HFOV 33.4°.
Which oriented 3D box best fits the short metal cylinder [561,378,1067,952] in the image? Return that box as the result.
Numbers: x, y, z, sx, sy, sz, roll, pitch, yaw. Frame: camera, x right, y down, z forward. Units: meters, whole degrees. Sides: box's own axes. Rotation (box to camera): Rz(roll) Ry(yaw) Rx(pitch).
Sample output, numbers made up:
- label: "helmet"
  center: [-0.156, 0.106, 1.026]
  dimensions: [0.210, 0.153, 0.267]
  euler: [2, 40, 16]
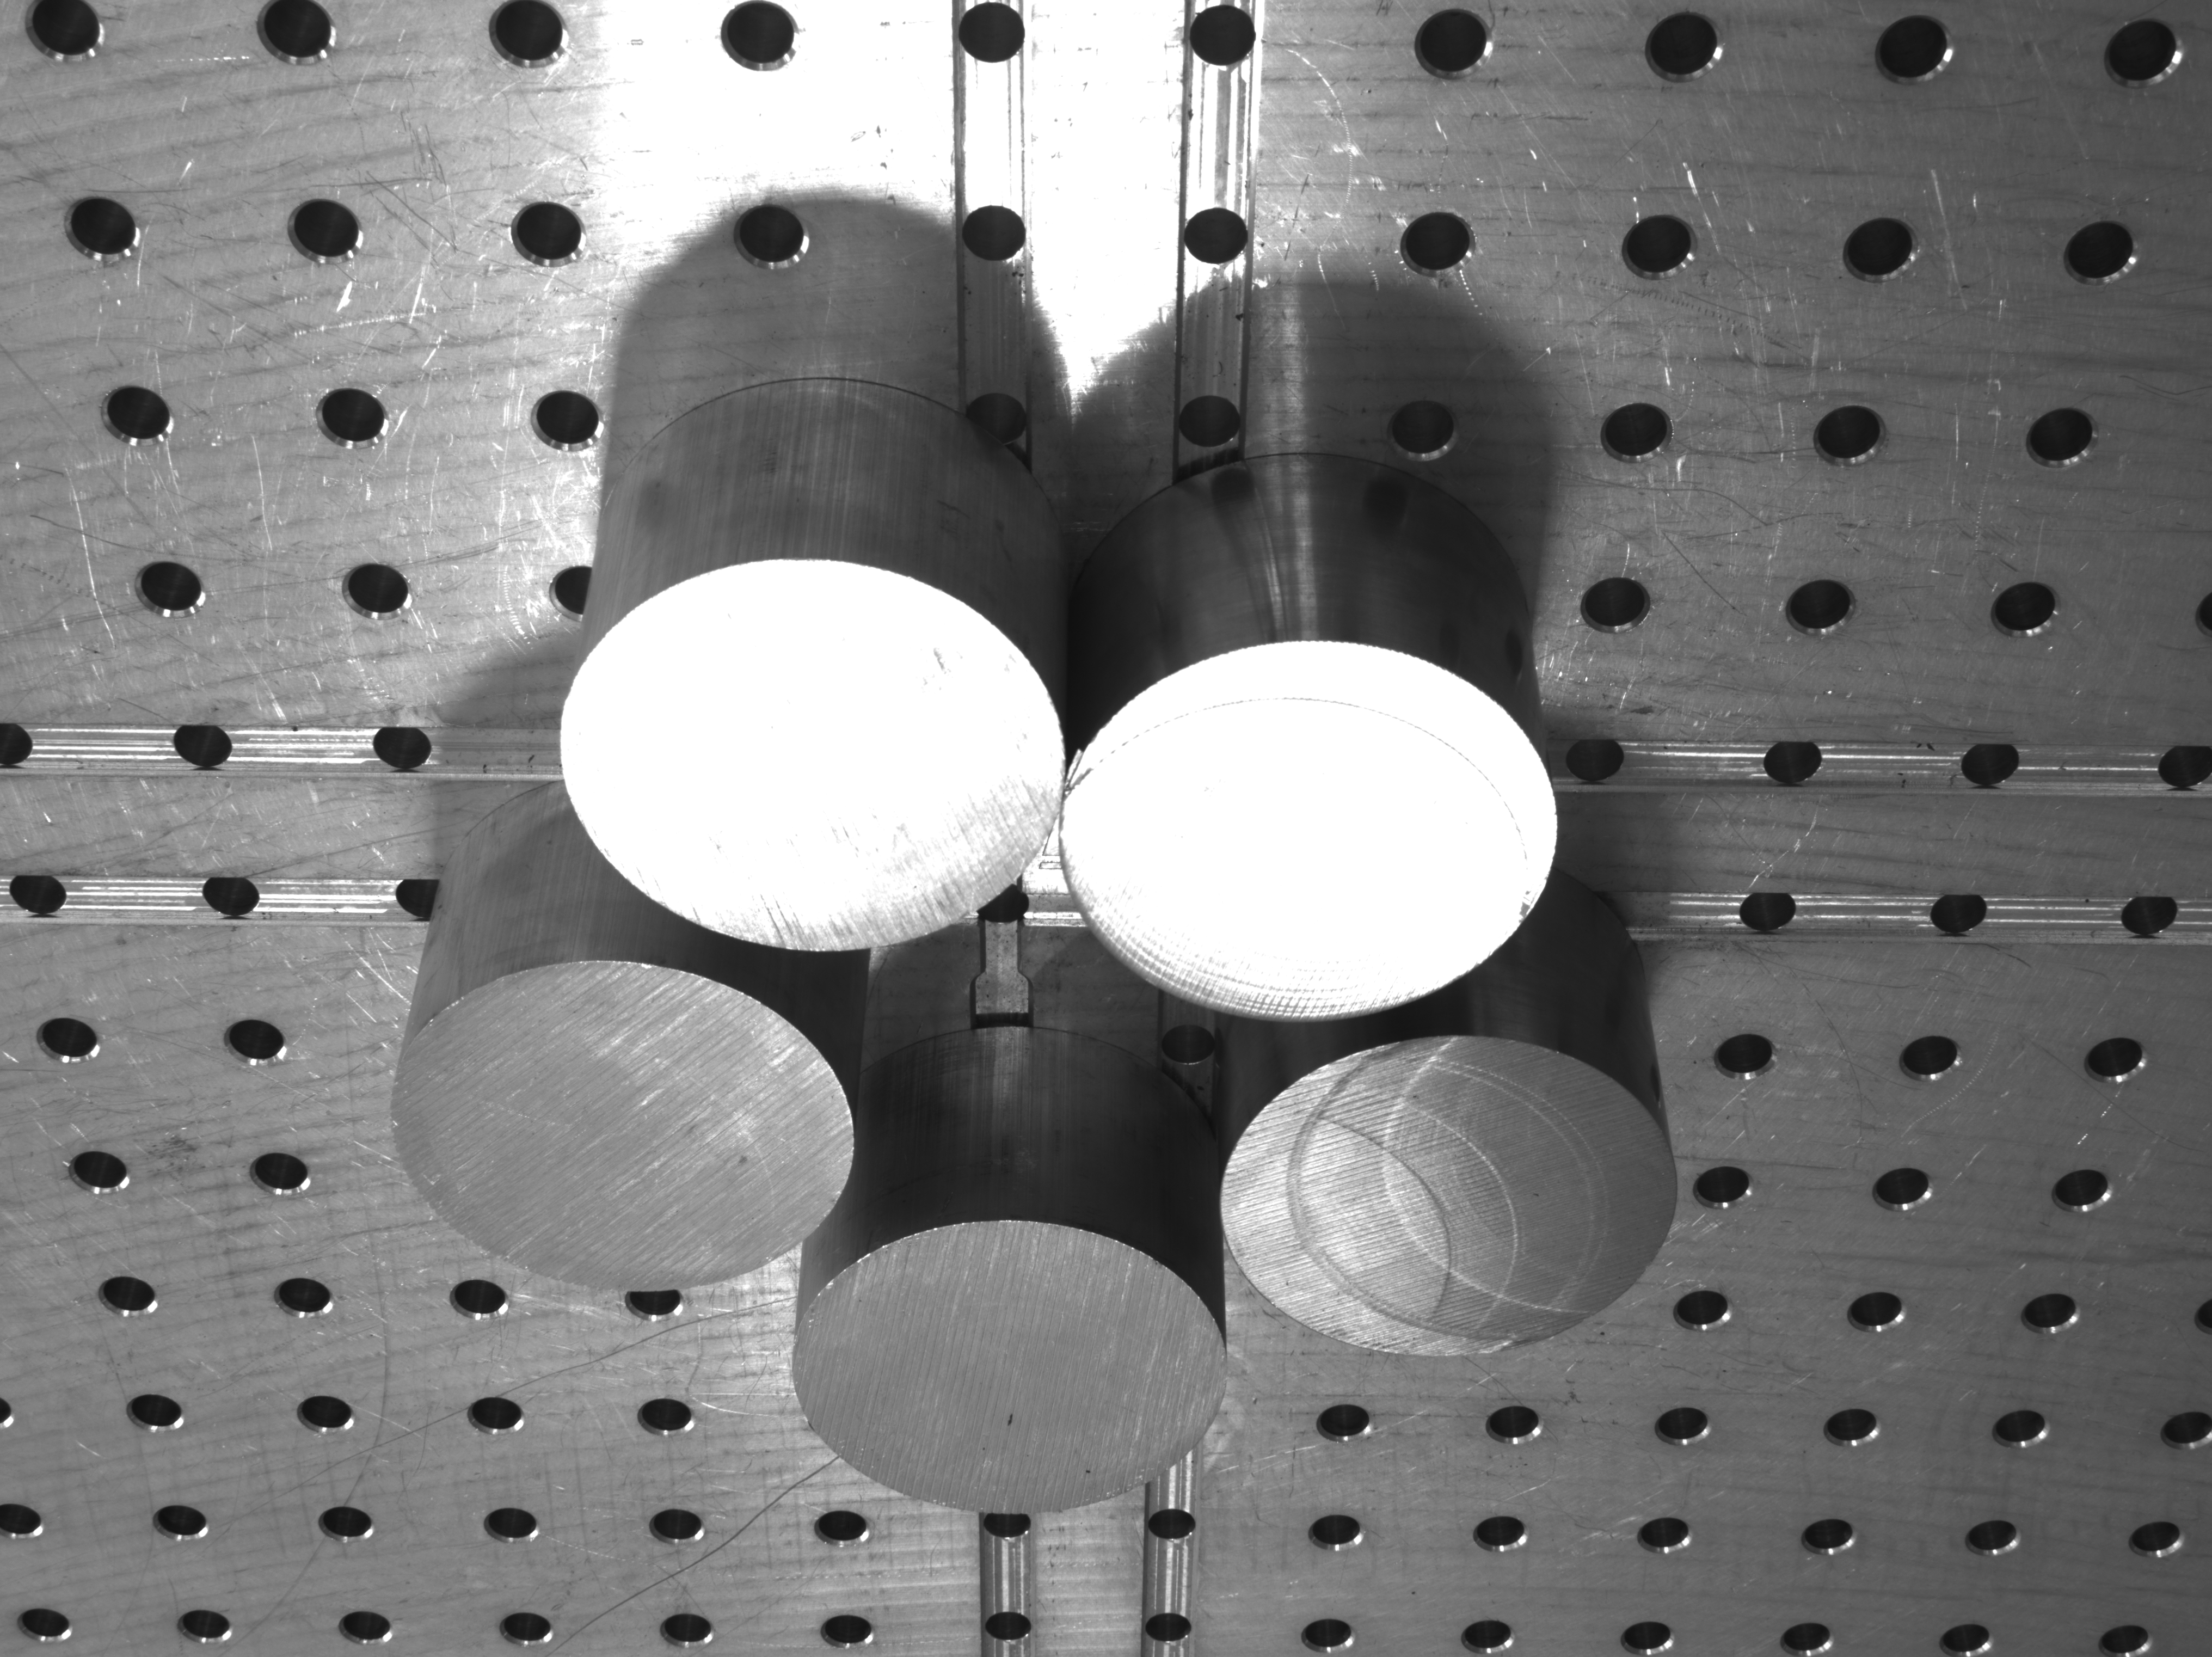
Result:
- label: "short metal cylinder"
  center: [-0.046, -0.026, 0.603]
  dimensions: [0.080, 0.050, 0.080]
  euler: [0, 130, 0]

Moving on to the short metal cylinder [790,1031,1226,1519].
- label: "short metal cylinder"
  center: [-0.018, 0.085, 0.695]
  dimensions: [0.080, 0.050, 0.080]
  euler: [0, 130, 1]

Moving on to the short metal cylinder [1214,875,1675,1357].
- label: "short metal cylinder"
  center: [0.060, 0.050, 0.667]
  dimensions: [0.080, 0.050, 0.080]
  euler: [0, 131, 0]

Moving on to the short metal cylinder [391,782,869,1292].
- label: "short metal cylinder"
  center: [-0.083, 0.037, 0.656]
  dimensions: [0.080, 0.050, 0.080]
  euler: [0, 130, 0]

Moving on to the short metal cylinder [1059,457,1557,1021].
- label: "short metal cylinder"
  center: [0.033, -0.014, 0.612]
  dimensions: [0.080, 0.050, 0.080]
  euler: [0, 130, 0]
